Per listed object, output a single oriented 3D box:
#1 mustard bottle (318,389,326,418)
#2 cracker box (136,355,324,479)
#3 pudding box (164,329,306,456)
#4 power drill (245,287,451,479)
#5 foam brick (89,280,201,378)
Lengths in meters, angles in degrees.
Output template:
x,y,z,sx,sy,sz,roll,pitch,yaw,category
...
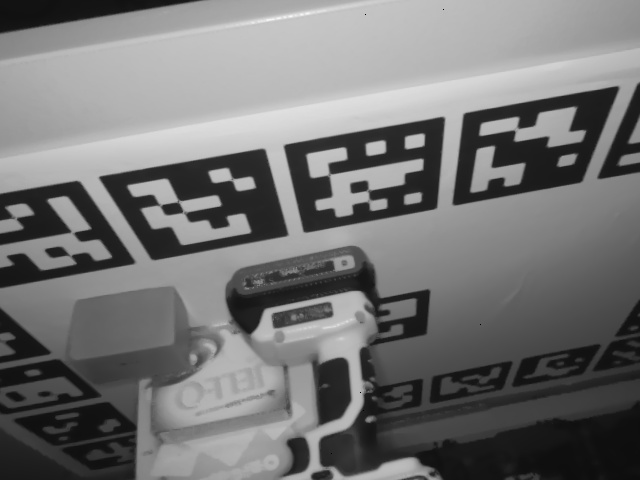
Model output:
x,y,z,sx,sy,sz,roll,pitch,yaw,category
0.023,0.244,0.688,0.097,0.192,0.057,-1,139,-12,mustard bottle
-0.070,0.200,0.600,0.165,0.214,0.071,-12,143,-2,cracker box
-0.074,0.127,0.596,0.114,0.090,0.038,-11,143,-5,pudding box
-0.008,0.133,0.508,0.185,0.188,0.057,-9,145,-1,power drill
-0.141,0.072,0.564,0.078,0.051,0.052,-8,140,-4,foam brick
